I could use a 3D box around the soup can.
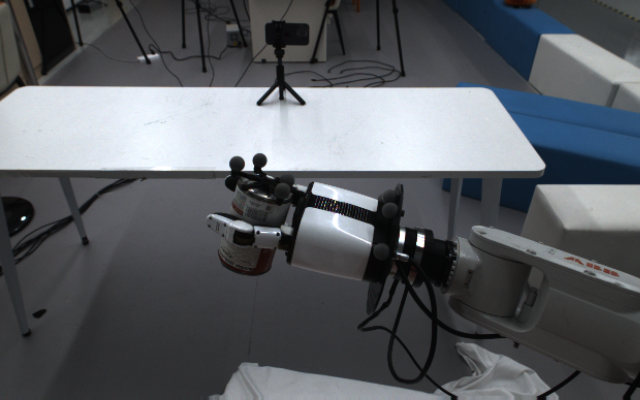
[{"bbox_3d":[-0.076,0.030,0.575,0.067,0.101,0.067,17,21,-7],"label":"soup can"}]
